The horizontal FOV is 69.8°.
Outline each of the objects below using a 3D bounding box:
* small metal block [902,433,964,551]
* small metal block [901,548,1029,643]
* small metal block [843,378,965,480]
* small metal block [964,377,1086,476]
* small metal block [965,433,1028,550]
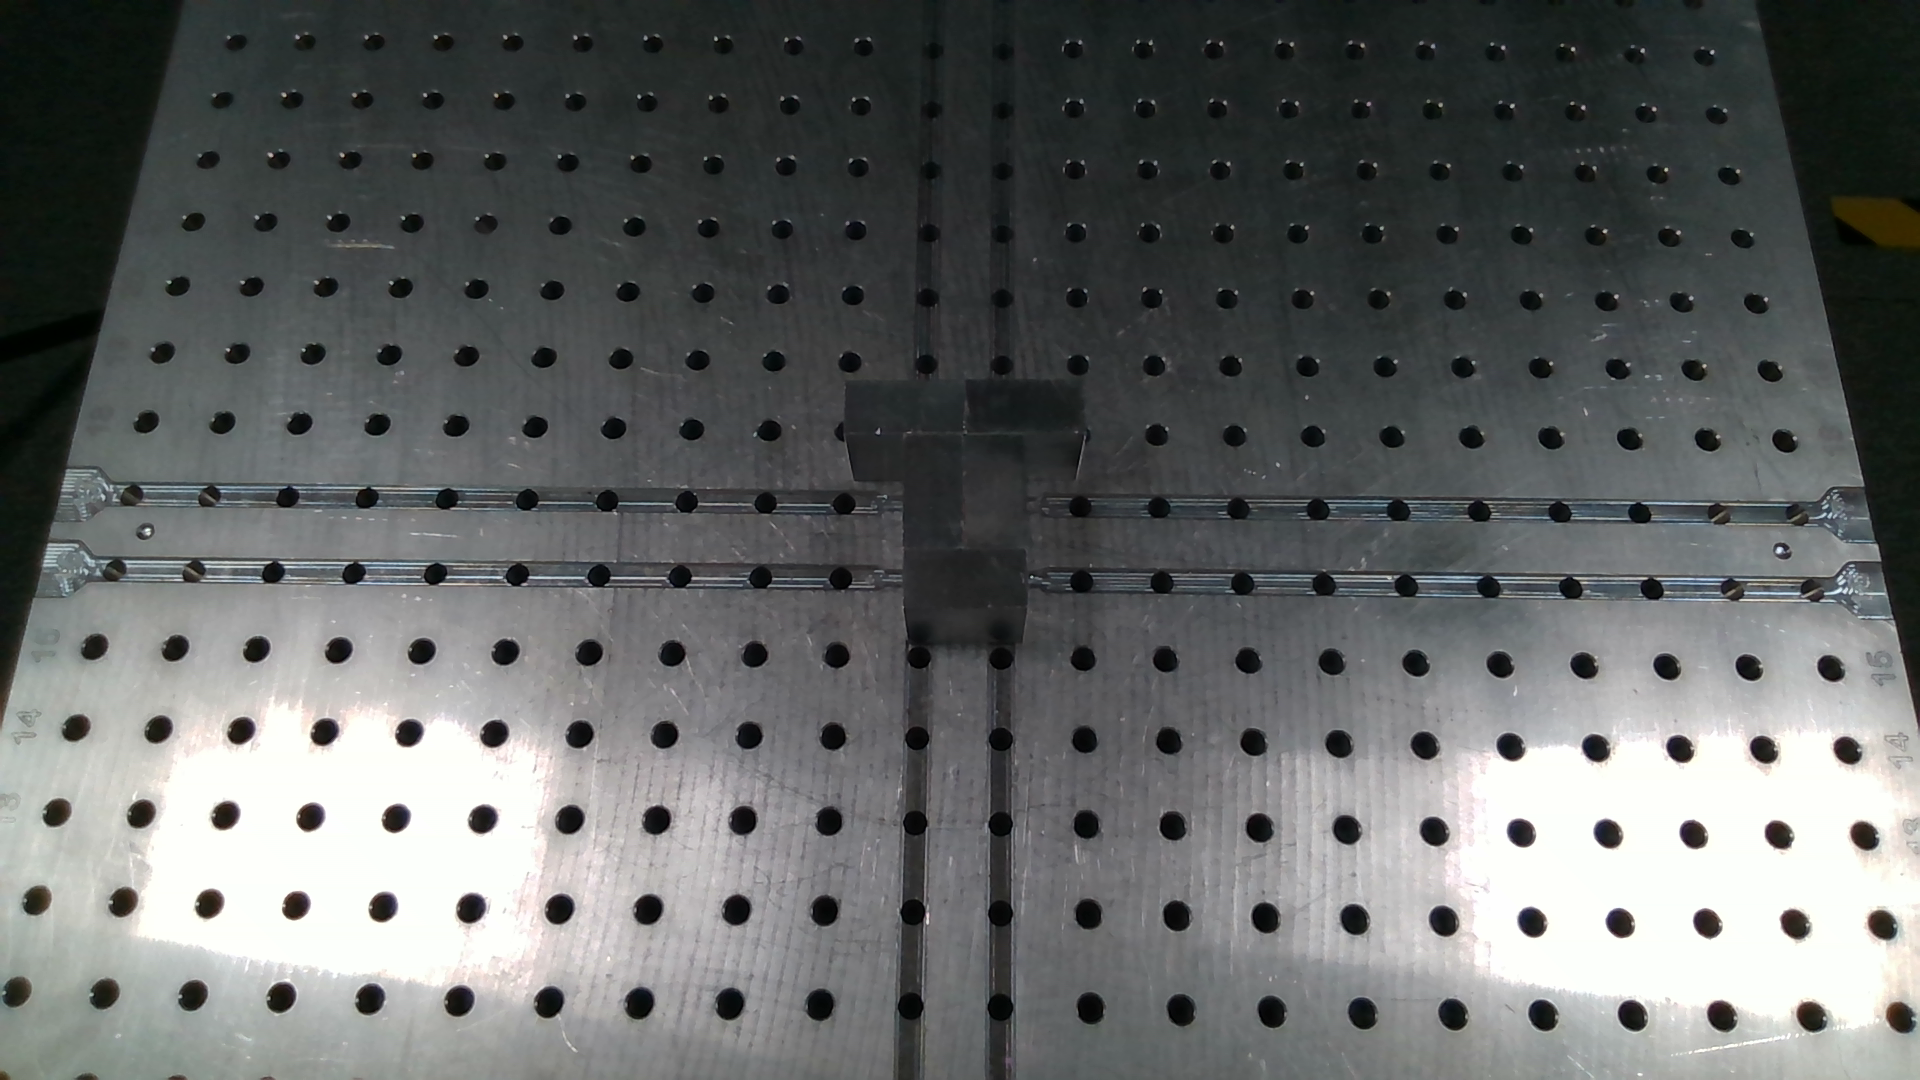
[{"bbox_3d":[-0.011,-0.012,0.581,0.025,0.050,0.050,0,70,0],"label":"small metal block"},{"bbox_3d":[0.002,0.024,0.568,0.050,0.050,0.025,0,70,0],"label":"small metal block"},{"bbox_3d":[-0.023,-0.047,0.593,0.050,0.050,0.025,0,70,0],"label":"small metal block"},{"bbox_3d":[0.027,-0.047,0.594,0.050,0.050,0.025,0,70,0],"label":"small metal block"},{"bbox_3d":[0.015,-0.012,0.581,0.025,0.050,0.050,0,70,0],"label":"small metal block"}]
